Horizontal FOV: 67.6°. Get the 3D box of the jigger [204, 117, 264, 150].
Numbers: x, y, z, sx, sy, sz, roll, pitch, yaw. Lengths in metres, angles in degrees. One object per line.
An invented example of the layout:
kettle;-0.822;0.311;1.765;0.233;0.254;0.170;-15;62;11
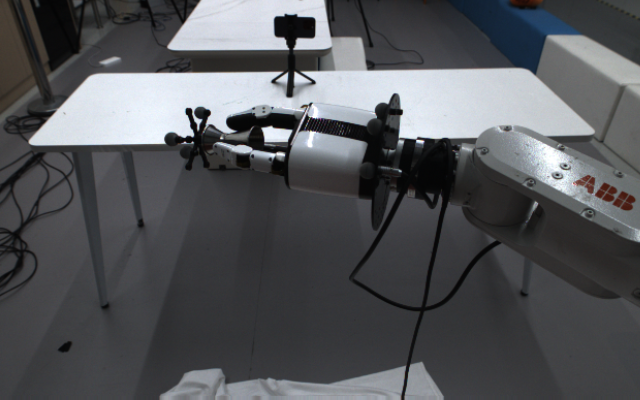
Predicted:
jigger;-0.103;-0.080;0.615;0.071;0.043;0.043;5;34;19
